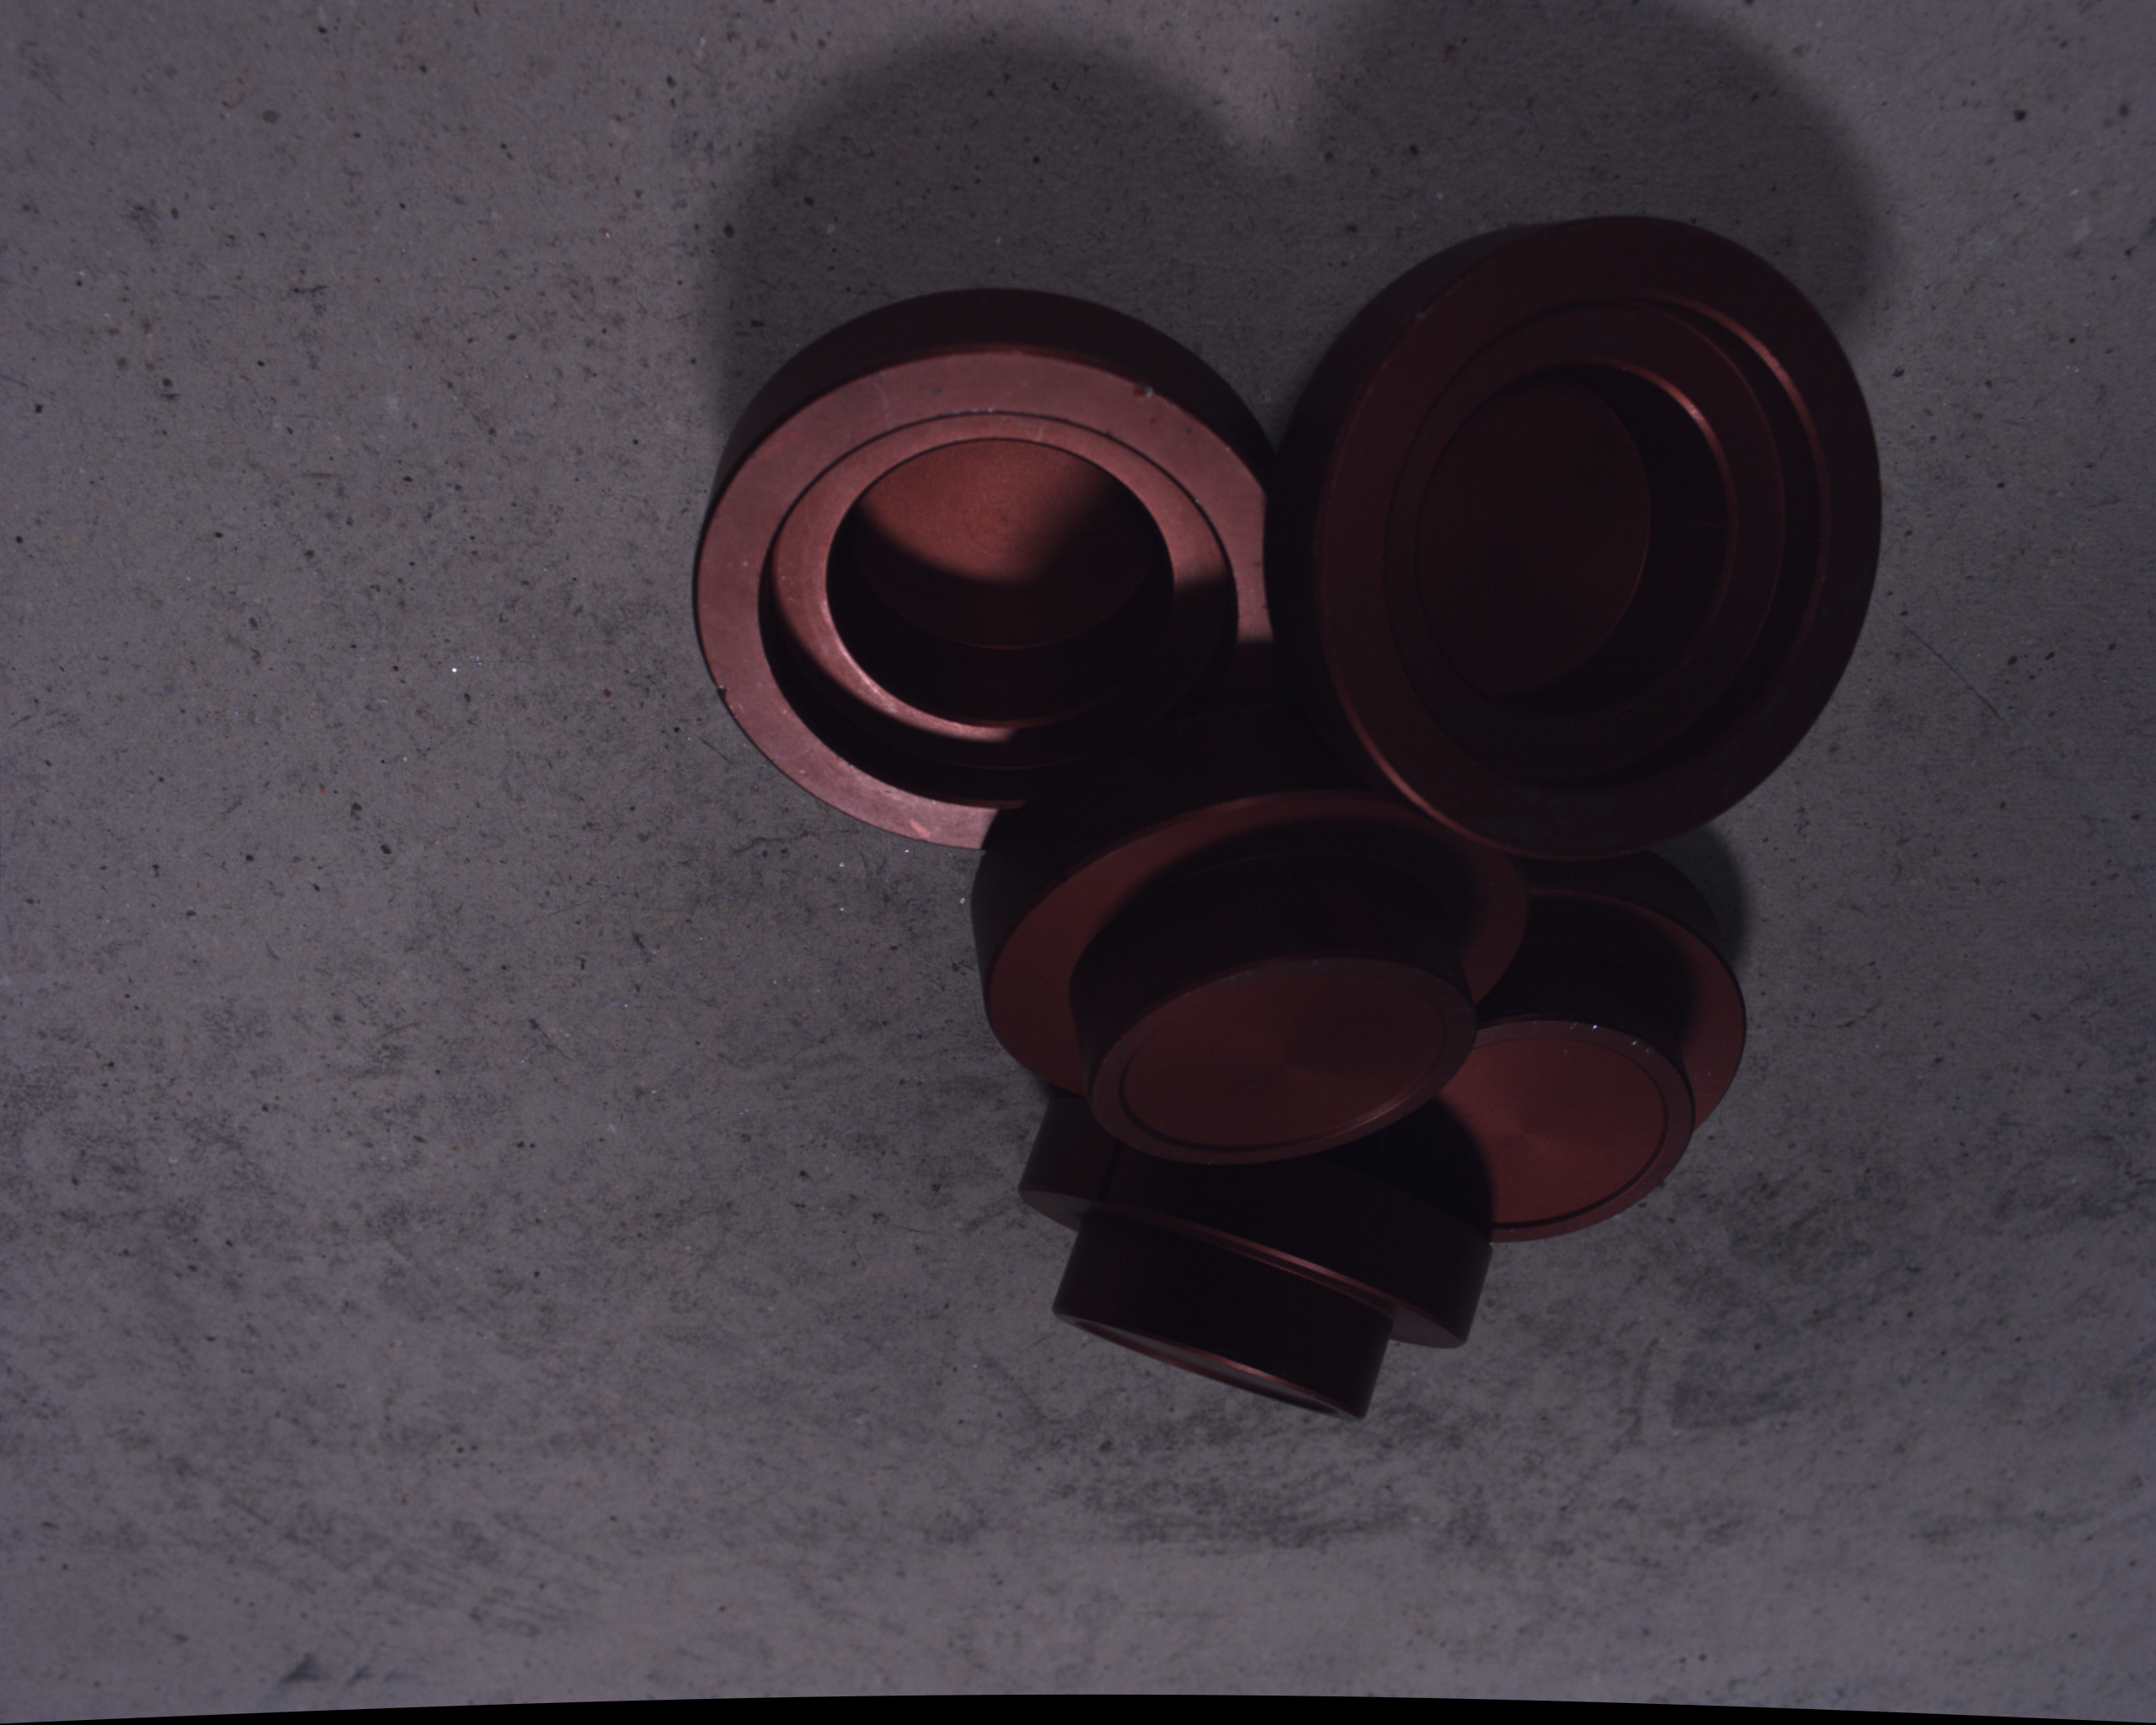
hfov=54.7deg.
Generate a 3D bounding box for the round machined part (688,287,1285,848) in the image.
[{"bbox_3d":[-0.014,-0.052,0.353,0.099,0.042,0.097,-1,130,0],"label":"round machined part"}]

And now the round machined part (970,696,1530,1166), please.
[{"bbox_3d":[0.032,0.019,0.371,0.099,0.042,0.097,-7,141,-5],"label":"round machined part"}]

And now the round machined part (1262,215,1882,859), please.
[{"bbox_3d":[0.075,-0.053,0.336,0.099,0.042,0.097,-5,105,-17],"label":"round machined part"}]

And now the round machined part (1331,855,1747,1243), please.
[{"bbox_3d":[0.089,0.042,0.434,0.099,0.042,0.097,-1,130,0],"label":"round machined part"}]

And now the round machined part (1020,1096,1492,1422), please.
[{"bbox_3d":[0.033,0.086,0.438,0.098,0.042,0.098,18,165,6],"label":"round machined part"}]
